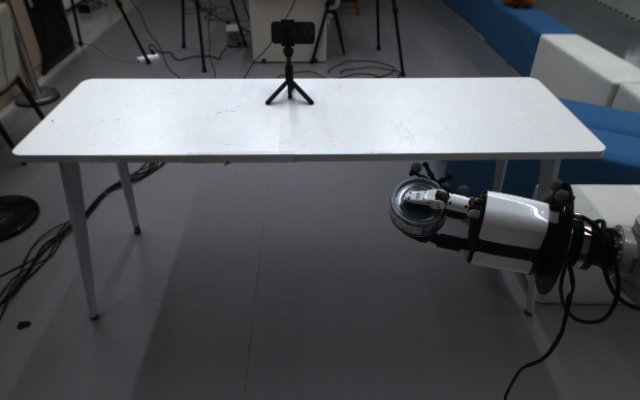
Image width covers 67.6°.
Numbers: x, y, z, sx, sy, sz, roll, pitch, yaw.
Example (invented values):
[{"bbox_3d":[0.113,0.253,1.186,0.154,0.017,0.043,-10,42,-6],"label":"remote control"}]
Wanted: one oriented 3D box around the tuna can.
[{"bbox_3d":[0.151,0.015,0.715,0.085,0.034,0.085,-4,58,6],"label":"tuna can"}]
